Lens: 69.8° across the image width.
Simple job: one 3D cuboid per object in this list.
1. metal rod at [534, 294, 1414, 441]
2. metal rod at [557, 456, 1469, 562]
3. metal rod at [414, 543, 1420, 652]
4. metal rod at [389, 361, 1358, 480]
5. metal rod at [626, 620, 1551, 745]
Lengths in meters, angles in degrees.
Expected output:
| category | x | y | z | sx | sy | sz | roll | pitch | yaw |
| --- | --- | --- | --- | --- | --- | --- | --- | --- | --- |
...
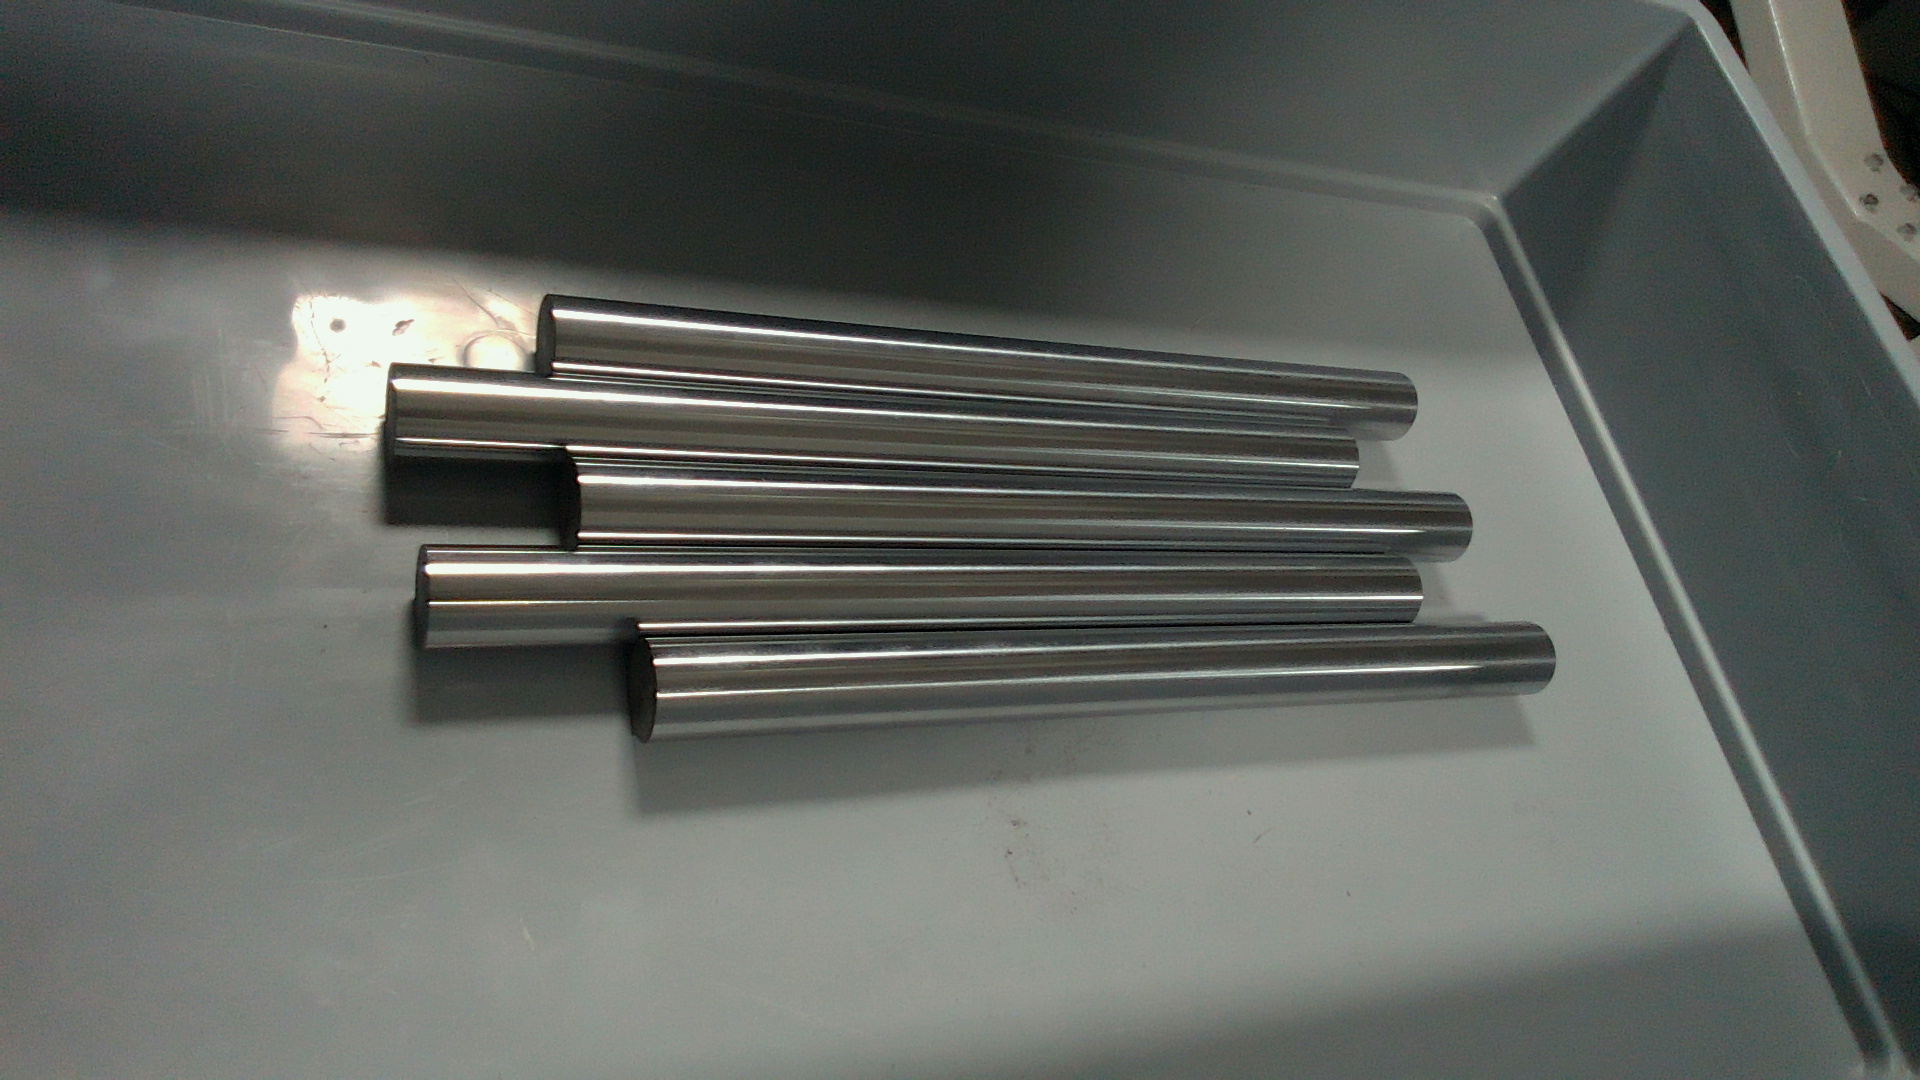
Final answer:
| category | x | y | z | sx | sy | sz | roll | pitch | yaw |
| --- | --- | --- | --- | --- | --- | --- | --- | --- | --- |
| metal rod | 0.024 | -0.050 | 0.432 | 0.301 | 0.025 | 0.025 | 1 | 61 | -28 |
| metal rod | 0.036 | -0.006 | 0.412 | 0.301 | 0.025 | 0.025 | 1 | 61 | -28 |
| metal rod | 0.010 | 0.015 | 0.385 | 0.301 | 0.025 | 0.025 | 1 | 61 | -28 |
| metal rod | -0.005 | -0.029 | 0.404 | 0.301 | 0.025 | 0.025 | 1 | 61 | -28 |
| metal rod | 0.057 | 0.038 | 0.396 | 0.301 | 0.025 | 0.025 | 1 | 61 | -28 |
